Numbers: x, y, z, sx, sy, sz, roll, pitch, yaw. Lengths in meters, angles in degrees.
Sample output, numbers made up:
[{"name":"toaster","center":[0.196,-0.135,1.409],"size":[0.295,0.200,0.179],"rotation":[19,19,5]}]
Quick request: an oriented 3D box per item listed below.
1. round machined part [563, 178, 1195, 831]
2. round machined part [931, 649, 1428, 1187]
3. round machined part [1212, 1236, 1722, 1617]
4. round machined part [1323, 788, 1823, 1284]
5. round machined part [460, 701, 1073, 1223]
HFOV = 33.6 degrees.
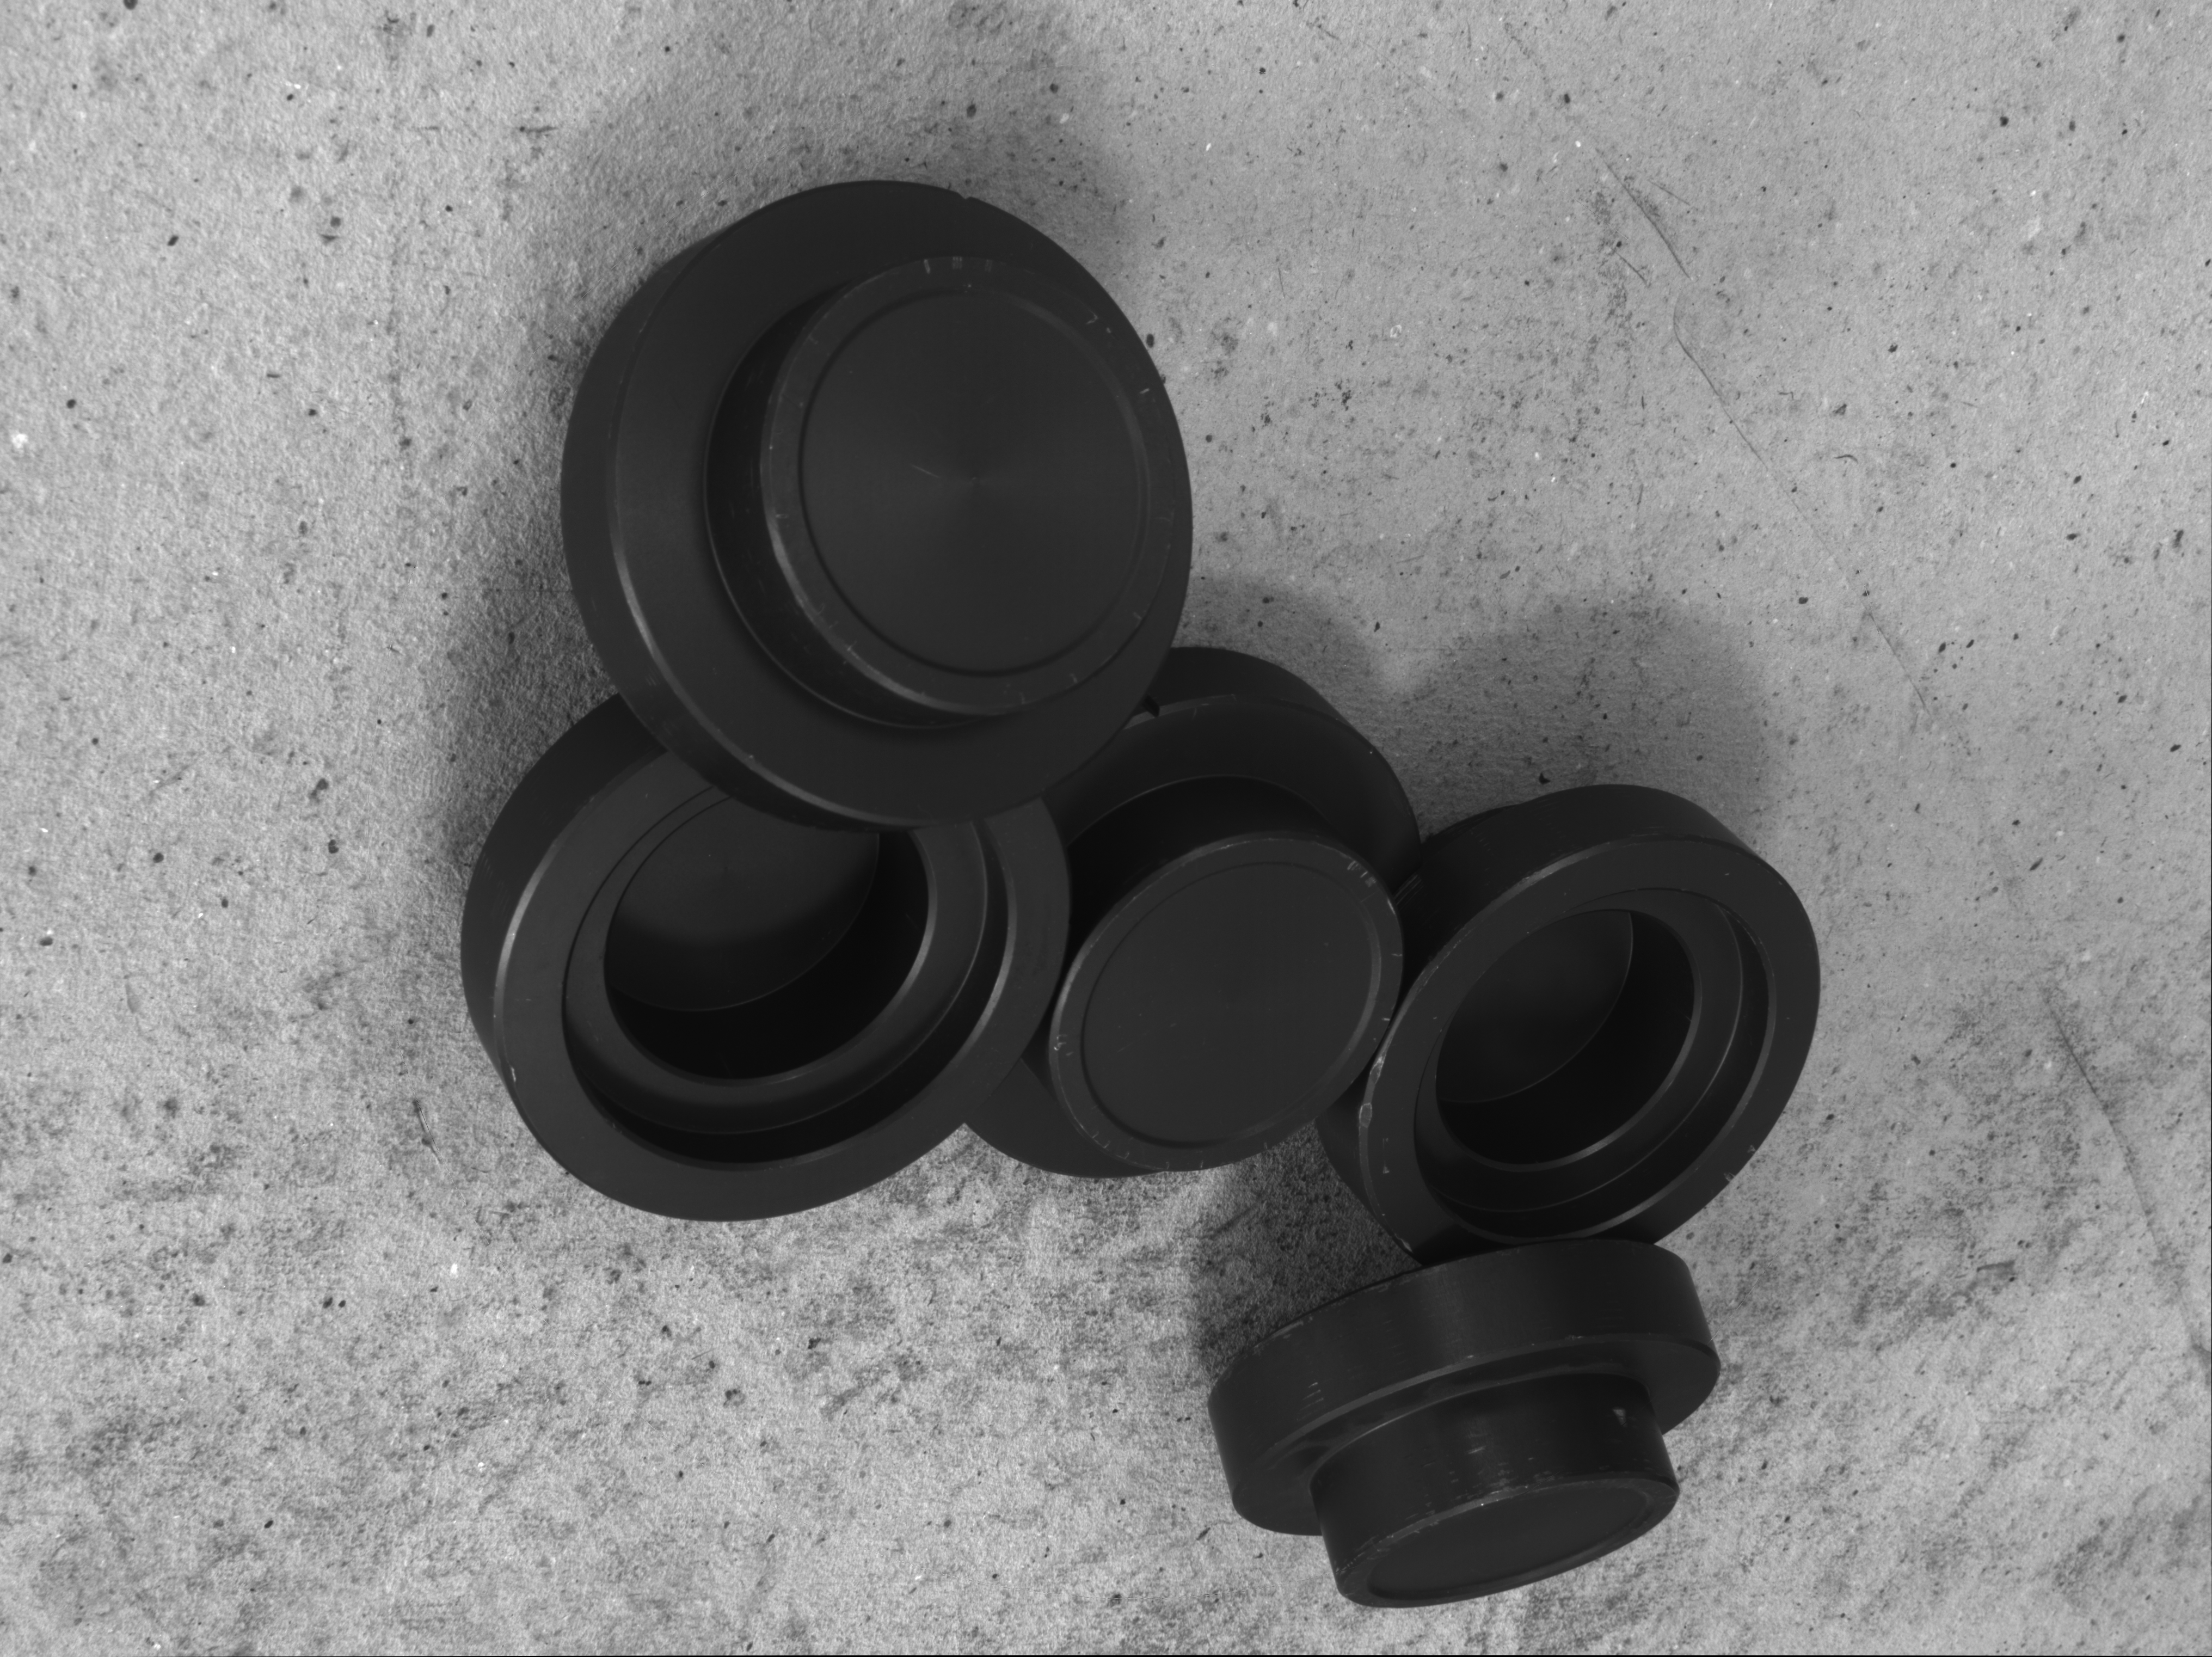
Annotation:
[{"name":"round machined part","center":[-0.028,-0.049,0.552],"size":[0.098,0.042,0.098],"rotation":[2,86,-29]},{"name":"round machined part","center":[0.014,0.021,0.645],"size":[0.098,0.042,0.098],"rotation":[-12,121,-21]},{"name":"round machined part","center":[0.073,0.120,0.709],"size":[0.098,0.042,0.098],"rotation":[-13,151,-7]},{"name":"round machined part","center":[0.082,0.035,0.691],"size":[0.098,0.042,0.098],"rotation":[-13,124,-20]},{"name":"round machined part","center":[-0.058,0.013,0.602],"size":[0.098,0.042,0.098],"rotation":[-13,124,-20]}]
